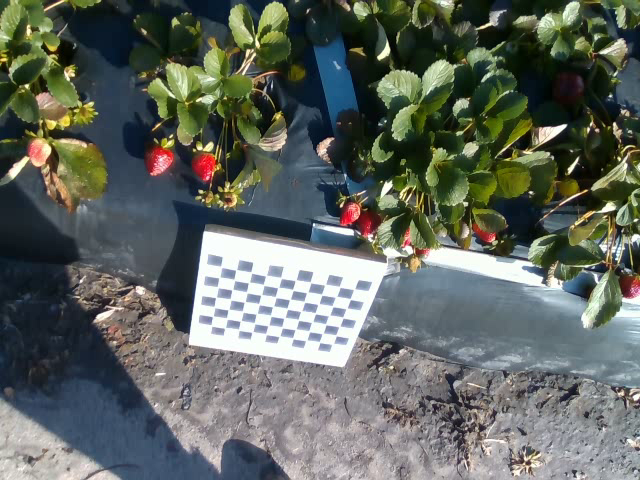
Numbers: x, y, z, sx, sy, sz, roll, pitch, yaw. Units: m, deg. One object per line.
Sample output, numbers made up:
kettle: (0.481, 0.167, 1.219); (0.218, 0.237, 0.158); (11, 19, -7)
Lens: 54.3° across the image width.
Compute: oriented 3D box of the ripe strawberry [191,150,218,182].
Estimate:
ripe strawberry: (-0.176, -0.110, 0.932); (0.042, 0.049, 0.039); (-21, -24, 23)

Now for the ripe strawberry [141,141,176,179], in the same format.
ripe strawberry: (-0.248, -0.117, 0.921); (0.051, 0.050, 0.045); (23, -27, -21)
